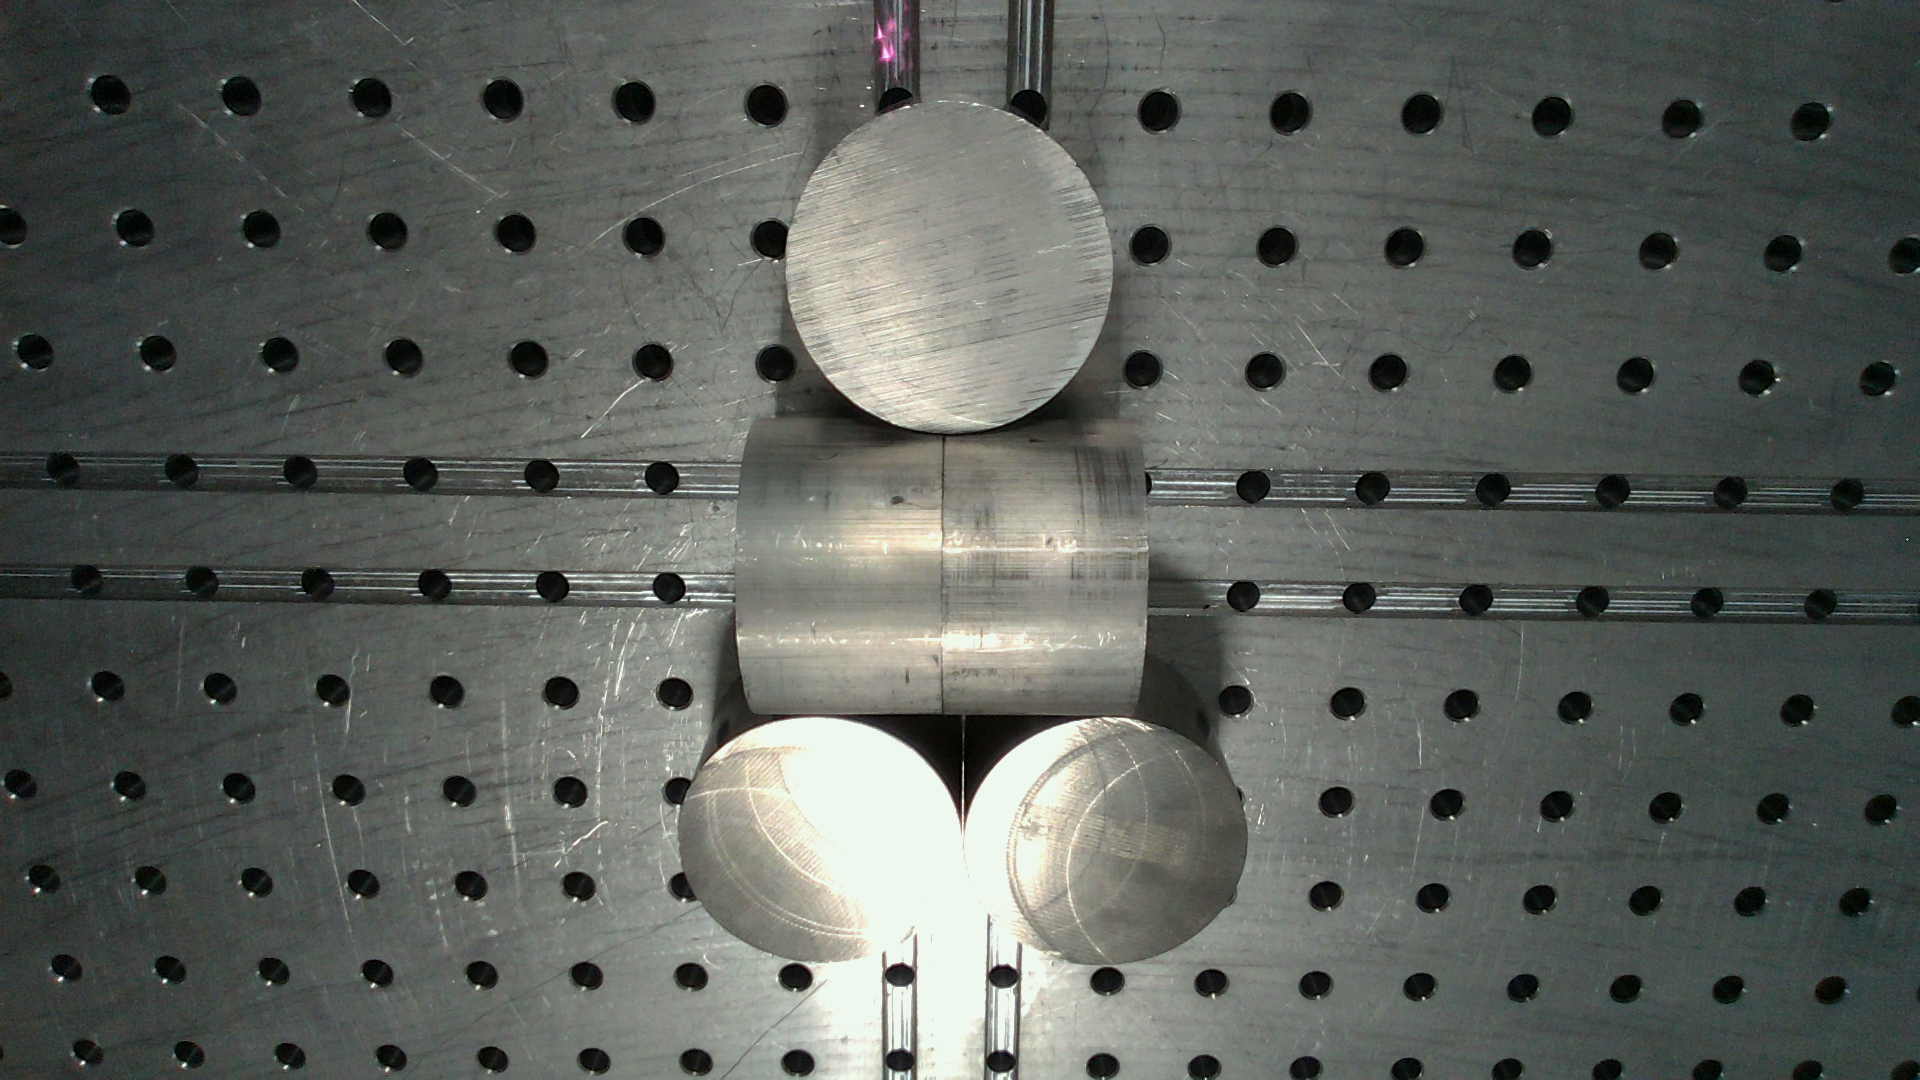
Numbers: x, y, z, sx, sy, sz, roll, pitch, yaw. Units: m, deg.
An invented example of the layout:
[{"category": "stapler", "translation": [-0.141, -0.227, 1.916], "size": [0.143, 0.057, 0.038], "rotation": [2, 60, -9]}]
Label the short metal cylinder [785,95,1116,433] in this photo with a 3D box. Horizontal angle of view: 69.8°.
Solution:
[{"category": "short metal cylinder", "translation": [-0.002, -0.073, 0.356], "size": [0.080, 0.050, 0.080], "rotation": [0, 110, 0]}]

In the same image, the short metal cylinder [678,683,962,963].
[{"category": "short metal cylinder", "translation": [-0.039, 0.077, 0.410], "size": [0.080, 0.050, 0.080], "rotation": [0, 110, 0]}]

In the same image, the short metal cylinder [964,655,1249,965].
[{"category": "short metal cylinder", "translation": [0.041, 0.078, 0.410], "size": [0.080, 0.050, 0.080], "rotation": [0, 110, 0]}]

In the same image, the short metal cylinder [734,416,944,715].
[{"category": "short metal cylinder", "translation": [-0.029, 0.007, 0.370], "size": [0.050, 0.080, 0.080], "rotation": [0, 110, 0]}]

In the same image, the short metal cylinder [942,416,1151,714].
[{"category": "short metal cylinder", "translation": [0.021, 0.007, 0.370], "size": [0.050, 0.080, 0.080], "rotation": [0, 110, 0]}]
